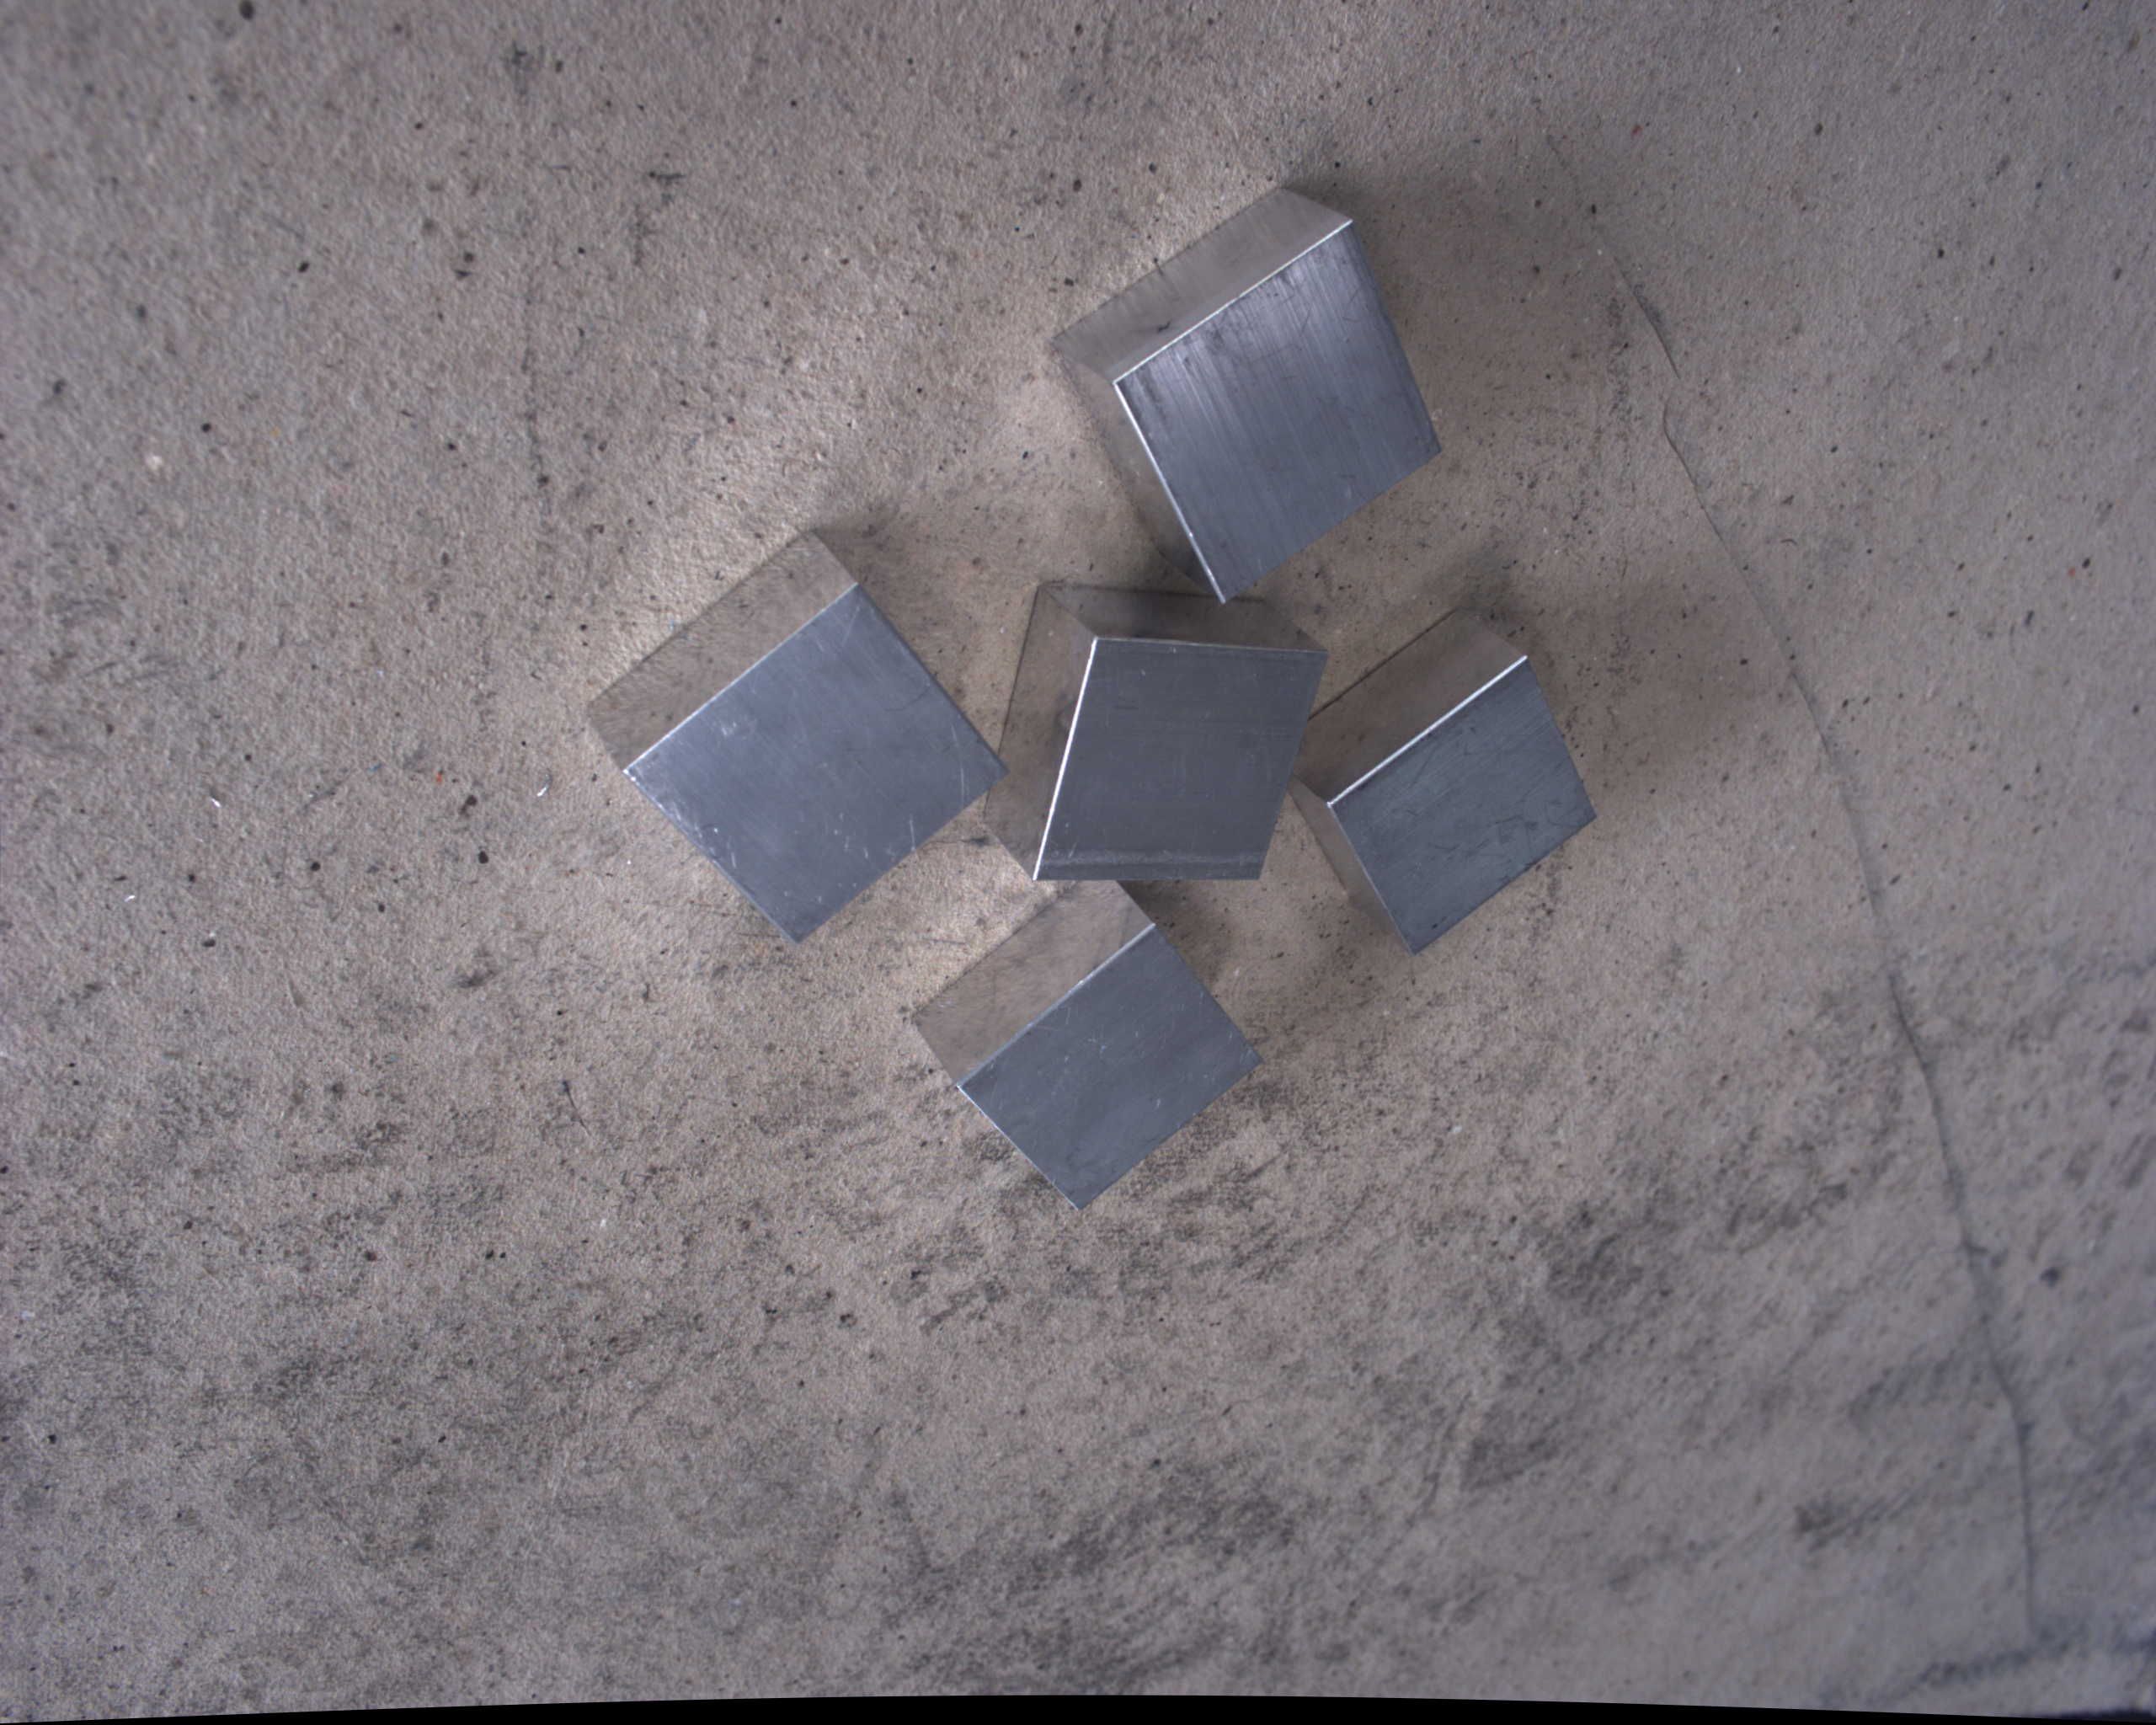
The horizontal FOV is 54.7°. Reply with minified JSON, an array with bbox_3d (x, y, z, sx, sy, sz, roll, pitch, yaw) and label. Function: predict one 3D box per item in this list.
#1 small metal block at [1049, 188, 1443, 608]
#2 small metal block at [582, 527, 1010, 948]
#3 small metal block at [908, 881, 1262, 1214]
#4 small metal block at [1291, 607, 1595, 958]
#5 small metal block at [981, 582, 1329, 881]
[{"bbox_3d":[0.031,-0.083,0.373,0.050,0.025,0.050,-36,129,-5],"label":"small metal block"},{"bbox_3d":[-0.049,-0.022,0.368,0.050,0.025,0.050,-40,130,-2],"label":"small metal block"},{"bbox_3d":[0.002,0.037,0.432,0.050,0.025,0.050,-40,130,-2],"label":"small metal block"},{"bbox_3d":[0.075,-0.016,0.439,0.050,0.025,0.050,-37,130,-3],"label":"small metal block"},{"bbox_3d":[0.014,-0.024,0.400,0.050,0.025,0.050,0,118,-28],"label":"small metal block"}]
